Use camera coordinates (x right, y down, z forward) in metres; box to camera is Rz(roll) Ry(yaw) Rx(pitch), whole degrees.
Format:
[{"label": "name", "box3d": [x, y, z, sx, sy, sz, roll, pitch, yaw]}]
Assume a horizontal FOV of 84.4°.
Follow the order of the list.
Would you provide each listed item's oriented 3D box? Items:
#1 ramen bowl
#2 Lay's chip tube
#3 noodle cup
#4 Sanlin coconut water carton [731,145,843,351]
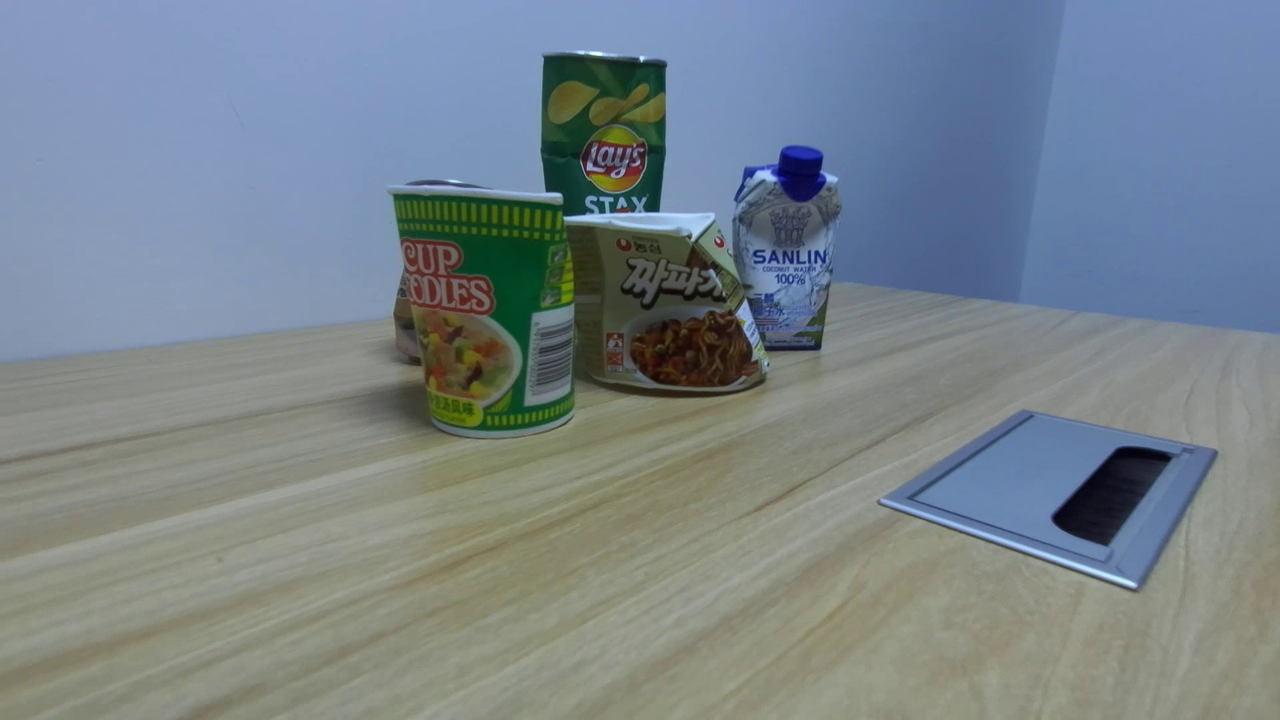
[{"label": "ramen bowl", "box3d": [0.015, -0.039, 0.429, 0.137, 0.098, 0.137, 2, 12, 0]}, {"label": "Lay's chip tube", "box3d": [-0.026, -0.119, 0.528, 0.068, 0.199, 0.075, 7, 14, 25]}, {"label": "noodle cup", "box3d": [-0.072, -0.022, 0.343, 0.075, 0.122, 0.082, -9, 18, -10]}, {"label": "Sanlin coconut water carton", "box3d": [0.102, -0.078, 0.503, 0.078, 0.142, 0.057, -1, 19, -12]}]
